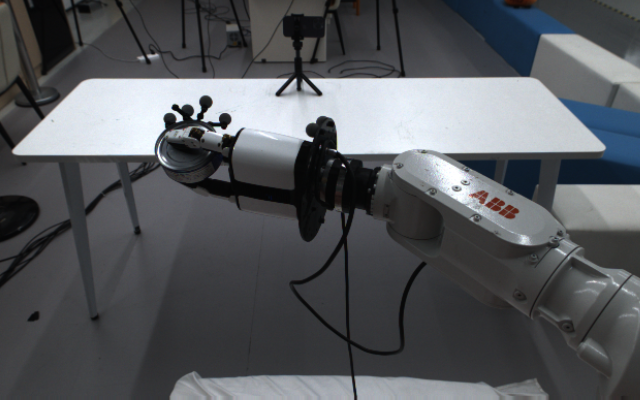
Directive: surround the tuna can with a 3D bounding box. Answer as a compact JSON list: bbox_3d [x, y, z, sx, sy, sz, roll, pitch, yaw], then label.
[{"bbox_3d":[-0.174,-0.064,0.658,0.085,0.034,0.085,-1,57,2],"label":"tuna can"}]
